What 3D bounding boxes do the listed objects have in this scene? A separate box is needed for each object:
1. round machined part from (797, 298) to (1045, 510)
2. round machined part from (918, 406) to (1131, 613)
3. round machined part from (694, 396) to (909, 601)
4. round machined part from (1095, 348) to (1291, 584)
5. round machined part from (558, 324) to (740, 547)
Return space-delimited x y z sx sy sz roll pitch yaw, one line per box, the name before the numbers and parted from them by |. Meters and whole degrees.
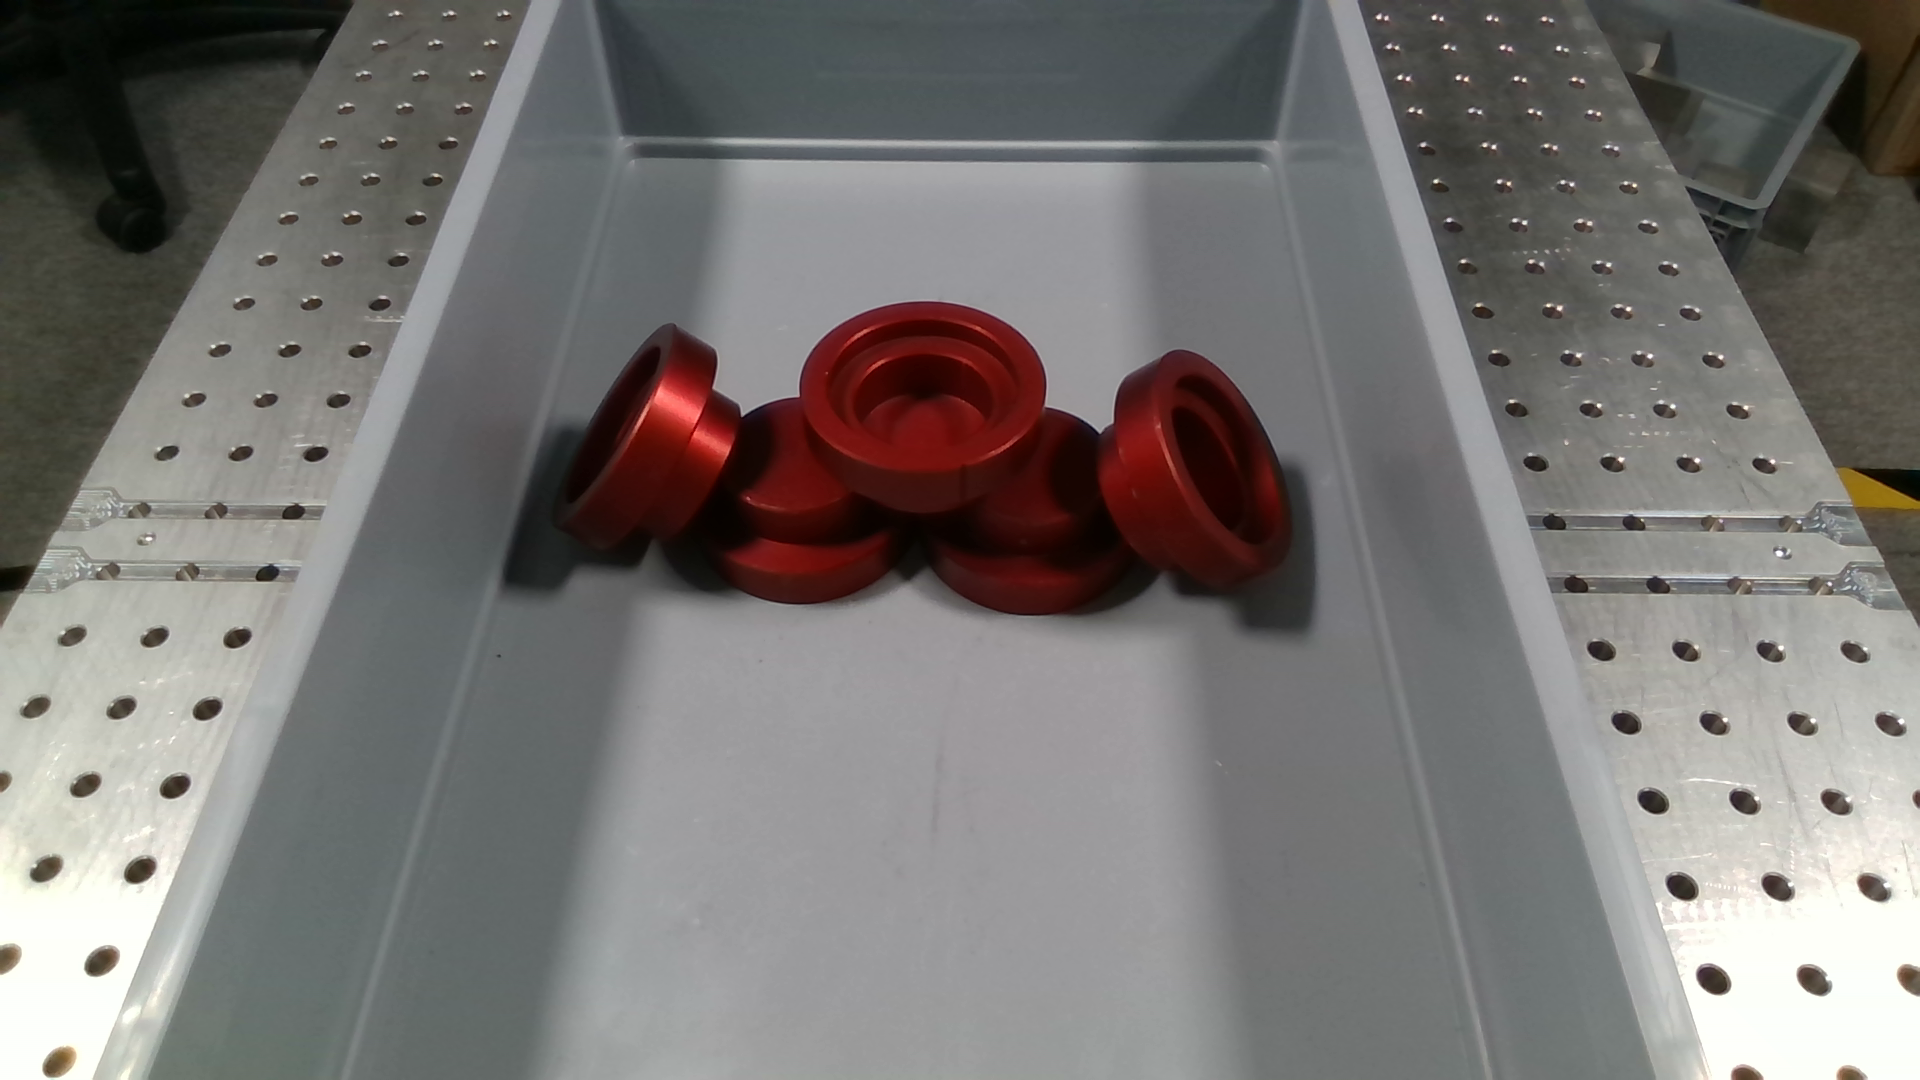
round machined part | -0.015 -0.051 0.561 0.098 0.042 0.098 0 50 0
round machined part | 0.030 -0.020 0.591 0.098 0.042 0.098 0 50 0
round machined part | -0.068 -0.024 0.594 0.098 0.042 0.098 0 50 0
round machined part | 0.093 -0.027 0.573 0.042 0.098 0.098 -26 39 35
round machined part | -0.129 -0.040 0.584 0.042 0.098 0.098 30 46 -24
